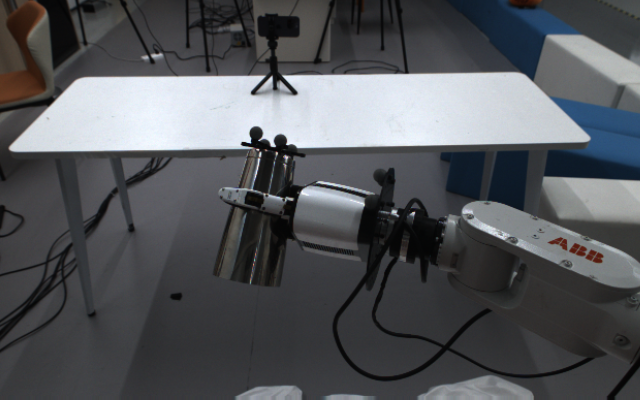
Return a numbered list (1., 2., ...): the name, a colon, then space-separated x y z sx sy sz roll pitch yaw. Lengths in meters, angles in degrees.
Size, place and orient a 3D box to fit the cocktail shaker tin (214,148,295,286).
1. cocktail shaker tin: -0.080 0.023 0.647 0.093 0.170 0.093 11 -5 1
